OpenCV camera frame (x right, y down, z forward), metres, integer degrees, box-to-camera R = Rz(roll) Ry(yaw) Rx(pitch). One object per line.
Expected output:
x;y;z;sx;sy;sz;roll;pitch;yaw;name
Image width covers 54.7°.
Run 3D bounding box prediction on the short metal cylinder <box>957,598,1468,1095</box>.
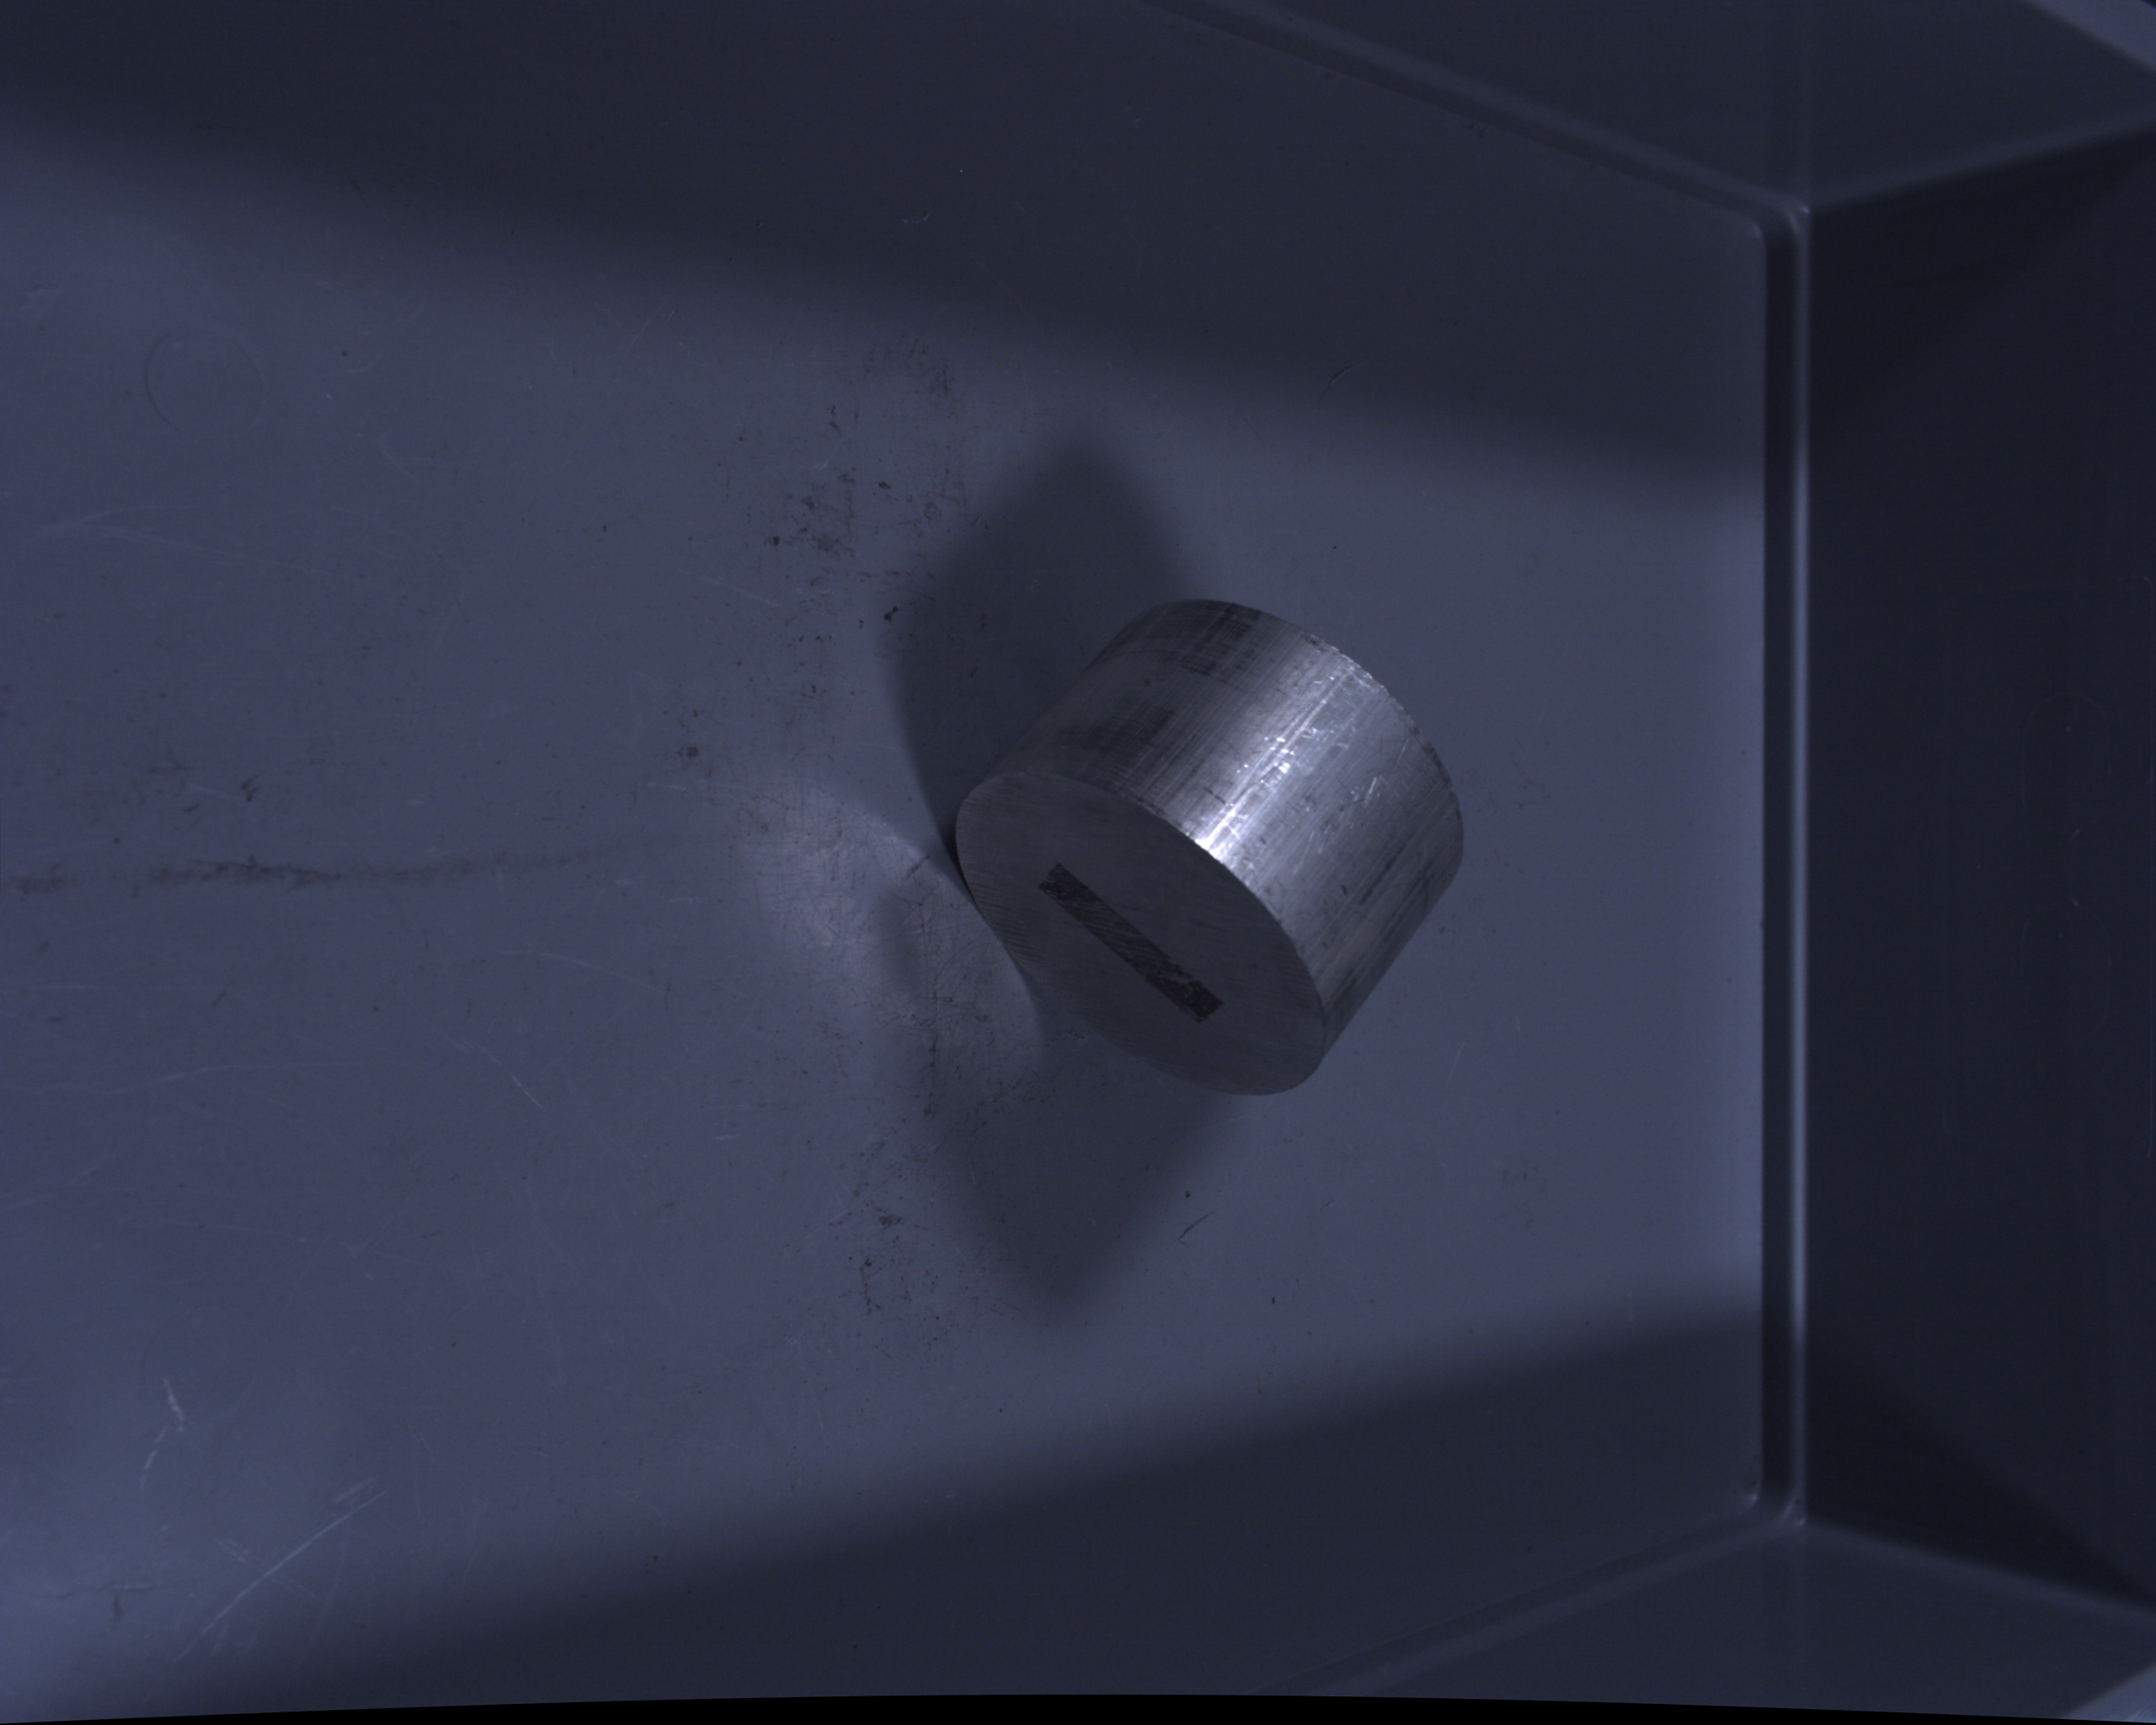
0.025;-0.002;0.390;0.050;0.080;0.080;-49;120;-29;short metal cylinder
